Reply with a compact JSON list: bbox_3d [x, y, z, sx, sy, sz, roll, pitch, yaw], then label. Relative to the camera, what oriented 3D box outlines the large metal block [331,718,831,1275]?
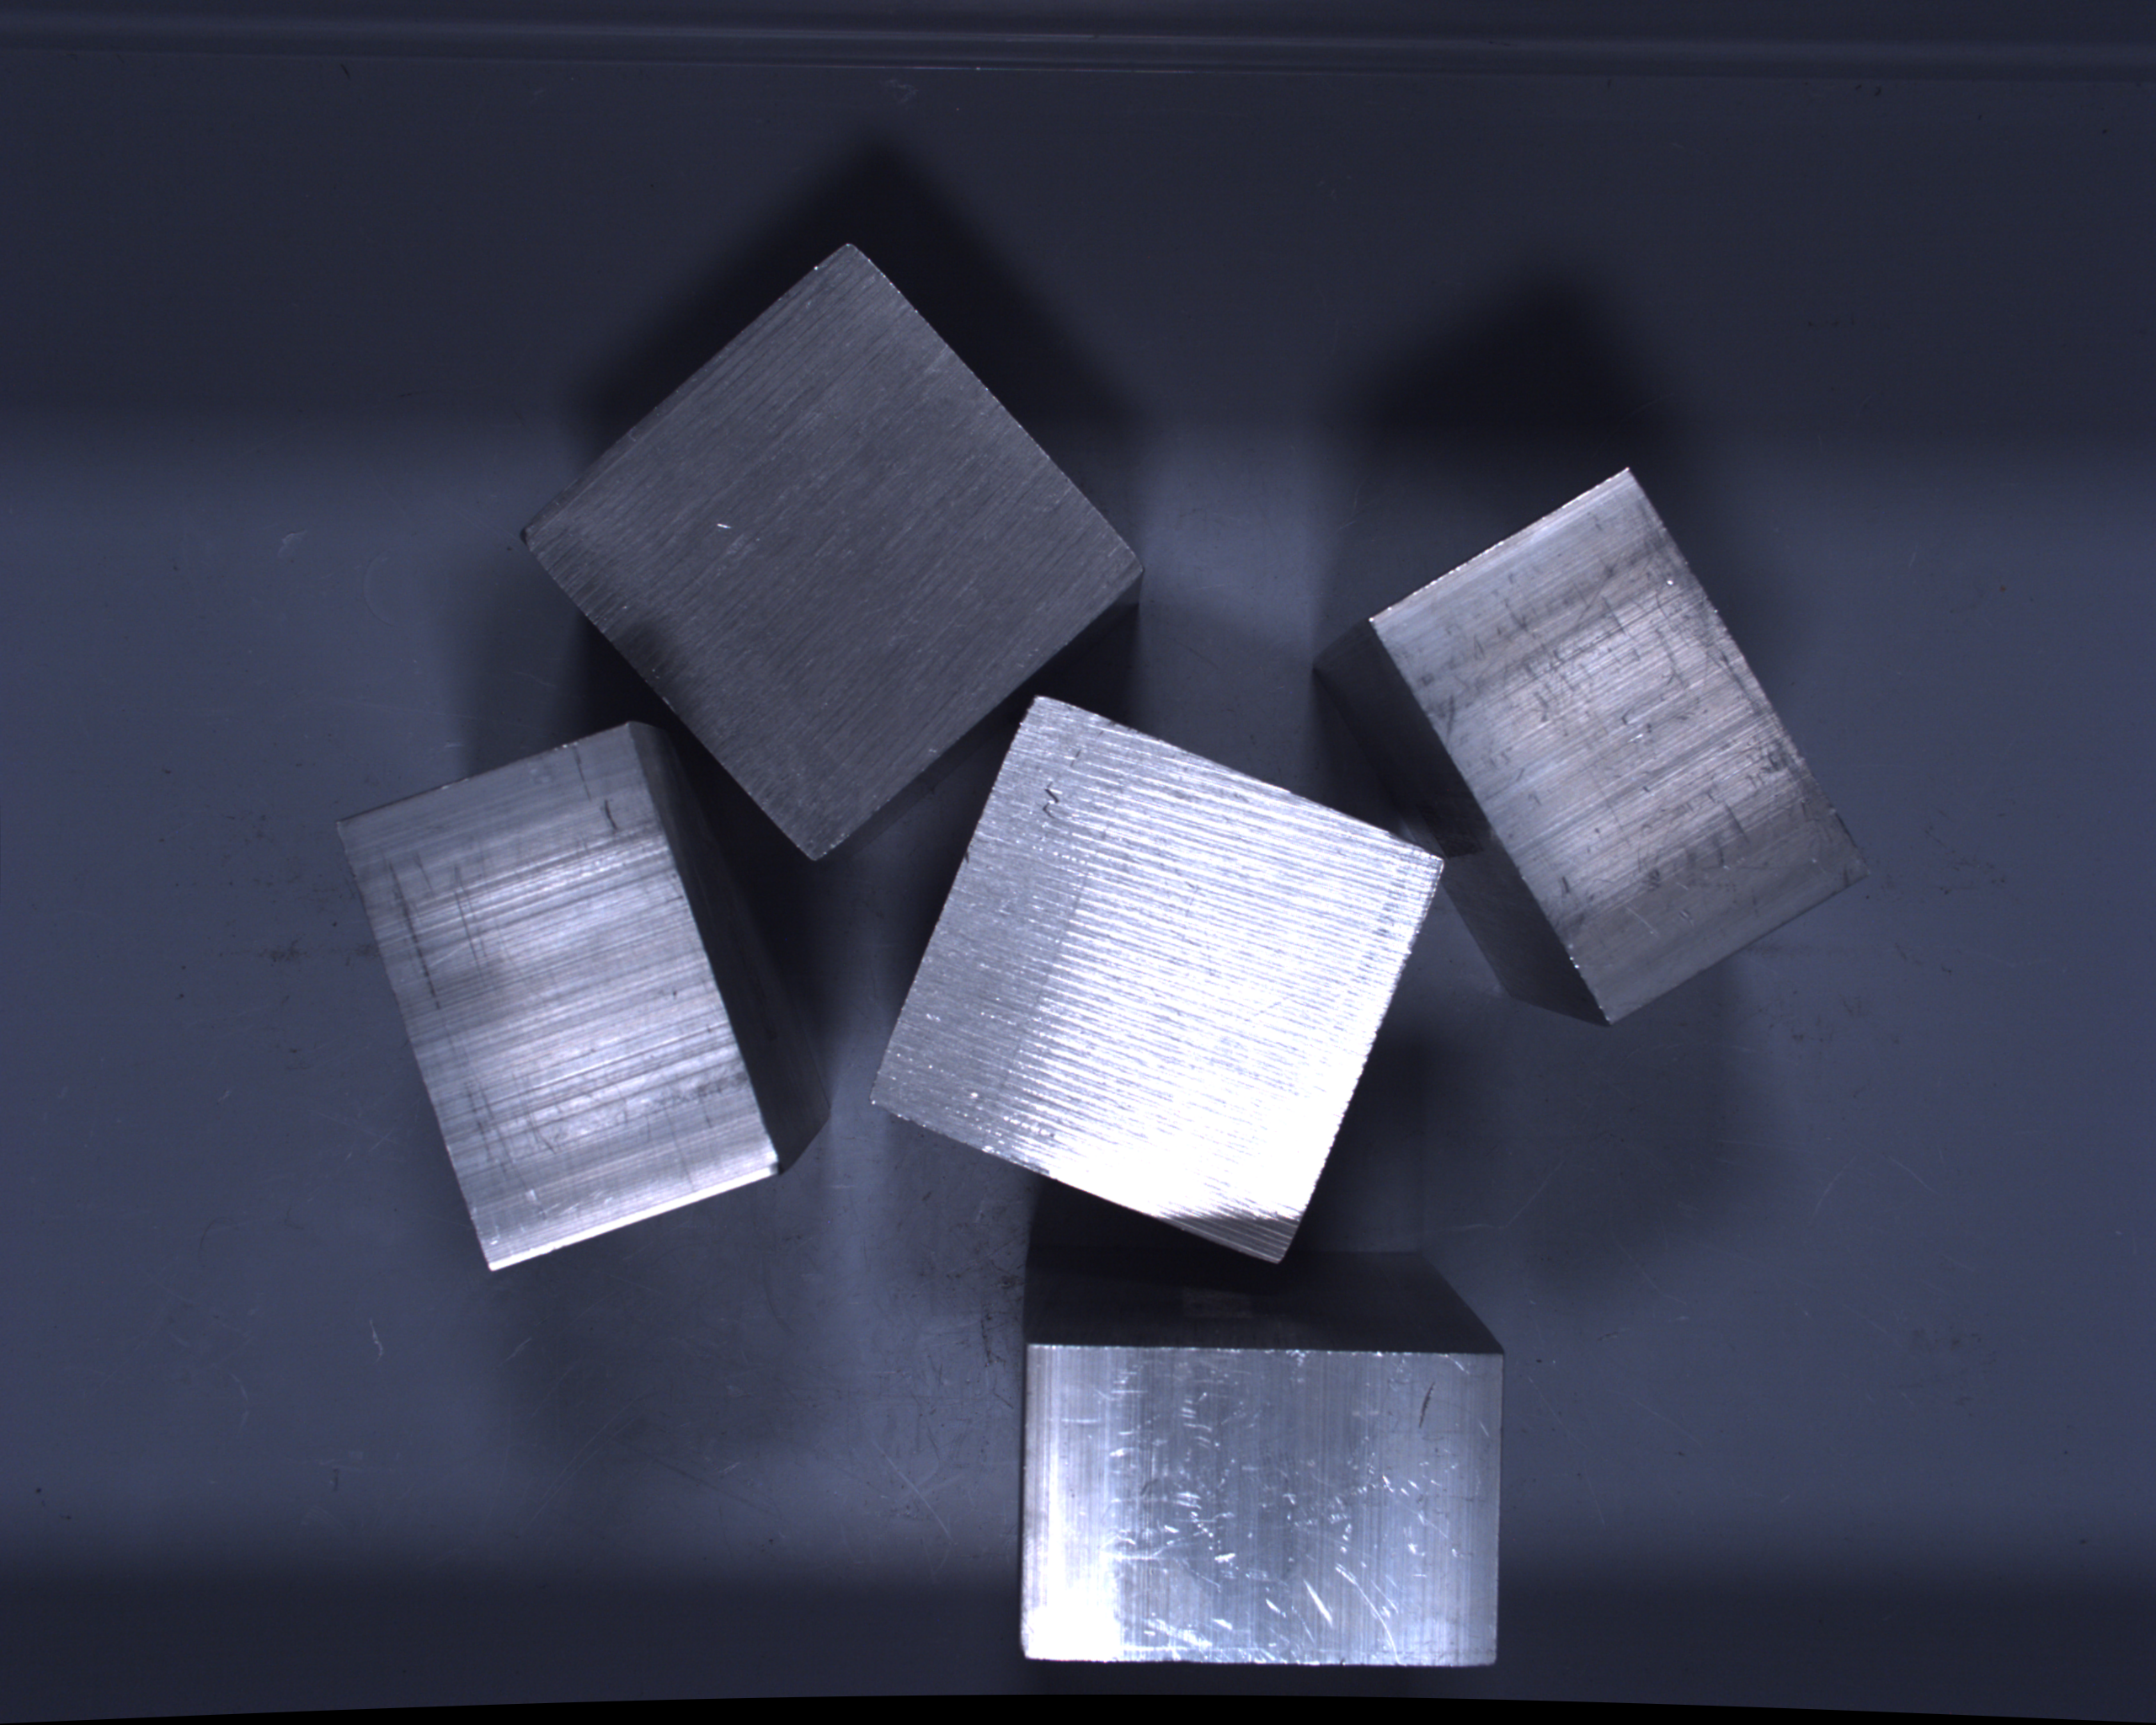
[{"bbox_3d":[-0.086,0.022,0.382,0.050,0.080,0.080,-19,90,0],"label":"large metal block"}]

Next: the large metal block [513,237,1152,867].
[{"bbox_3d":[-0.044,-0.055,0.397,0.080,0.050,0.080,-42,91,0],"label":"large metal block"}]

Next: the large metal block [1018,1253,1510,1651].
[{"bbox_3d":[0.031,0.104,0.384,0.081,0.080,0.050,1,90,-1],"label":"large metal block"}]

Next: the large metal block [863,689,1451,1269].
[{"bbox_3d":[0.014,0.021,0.398,0.080,0.050,0.080,22,90,-1],"label":"large metal block"}]

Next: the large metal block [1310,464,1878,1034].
[{"bbox_3d":[0.090,-0.019,0.383,0.050,0.080,0.080,-31,90,0],"label":"large metal block"}]
